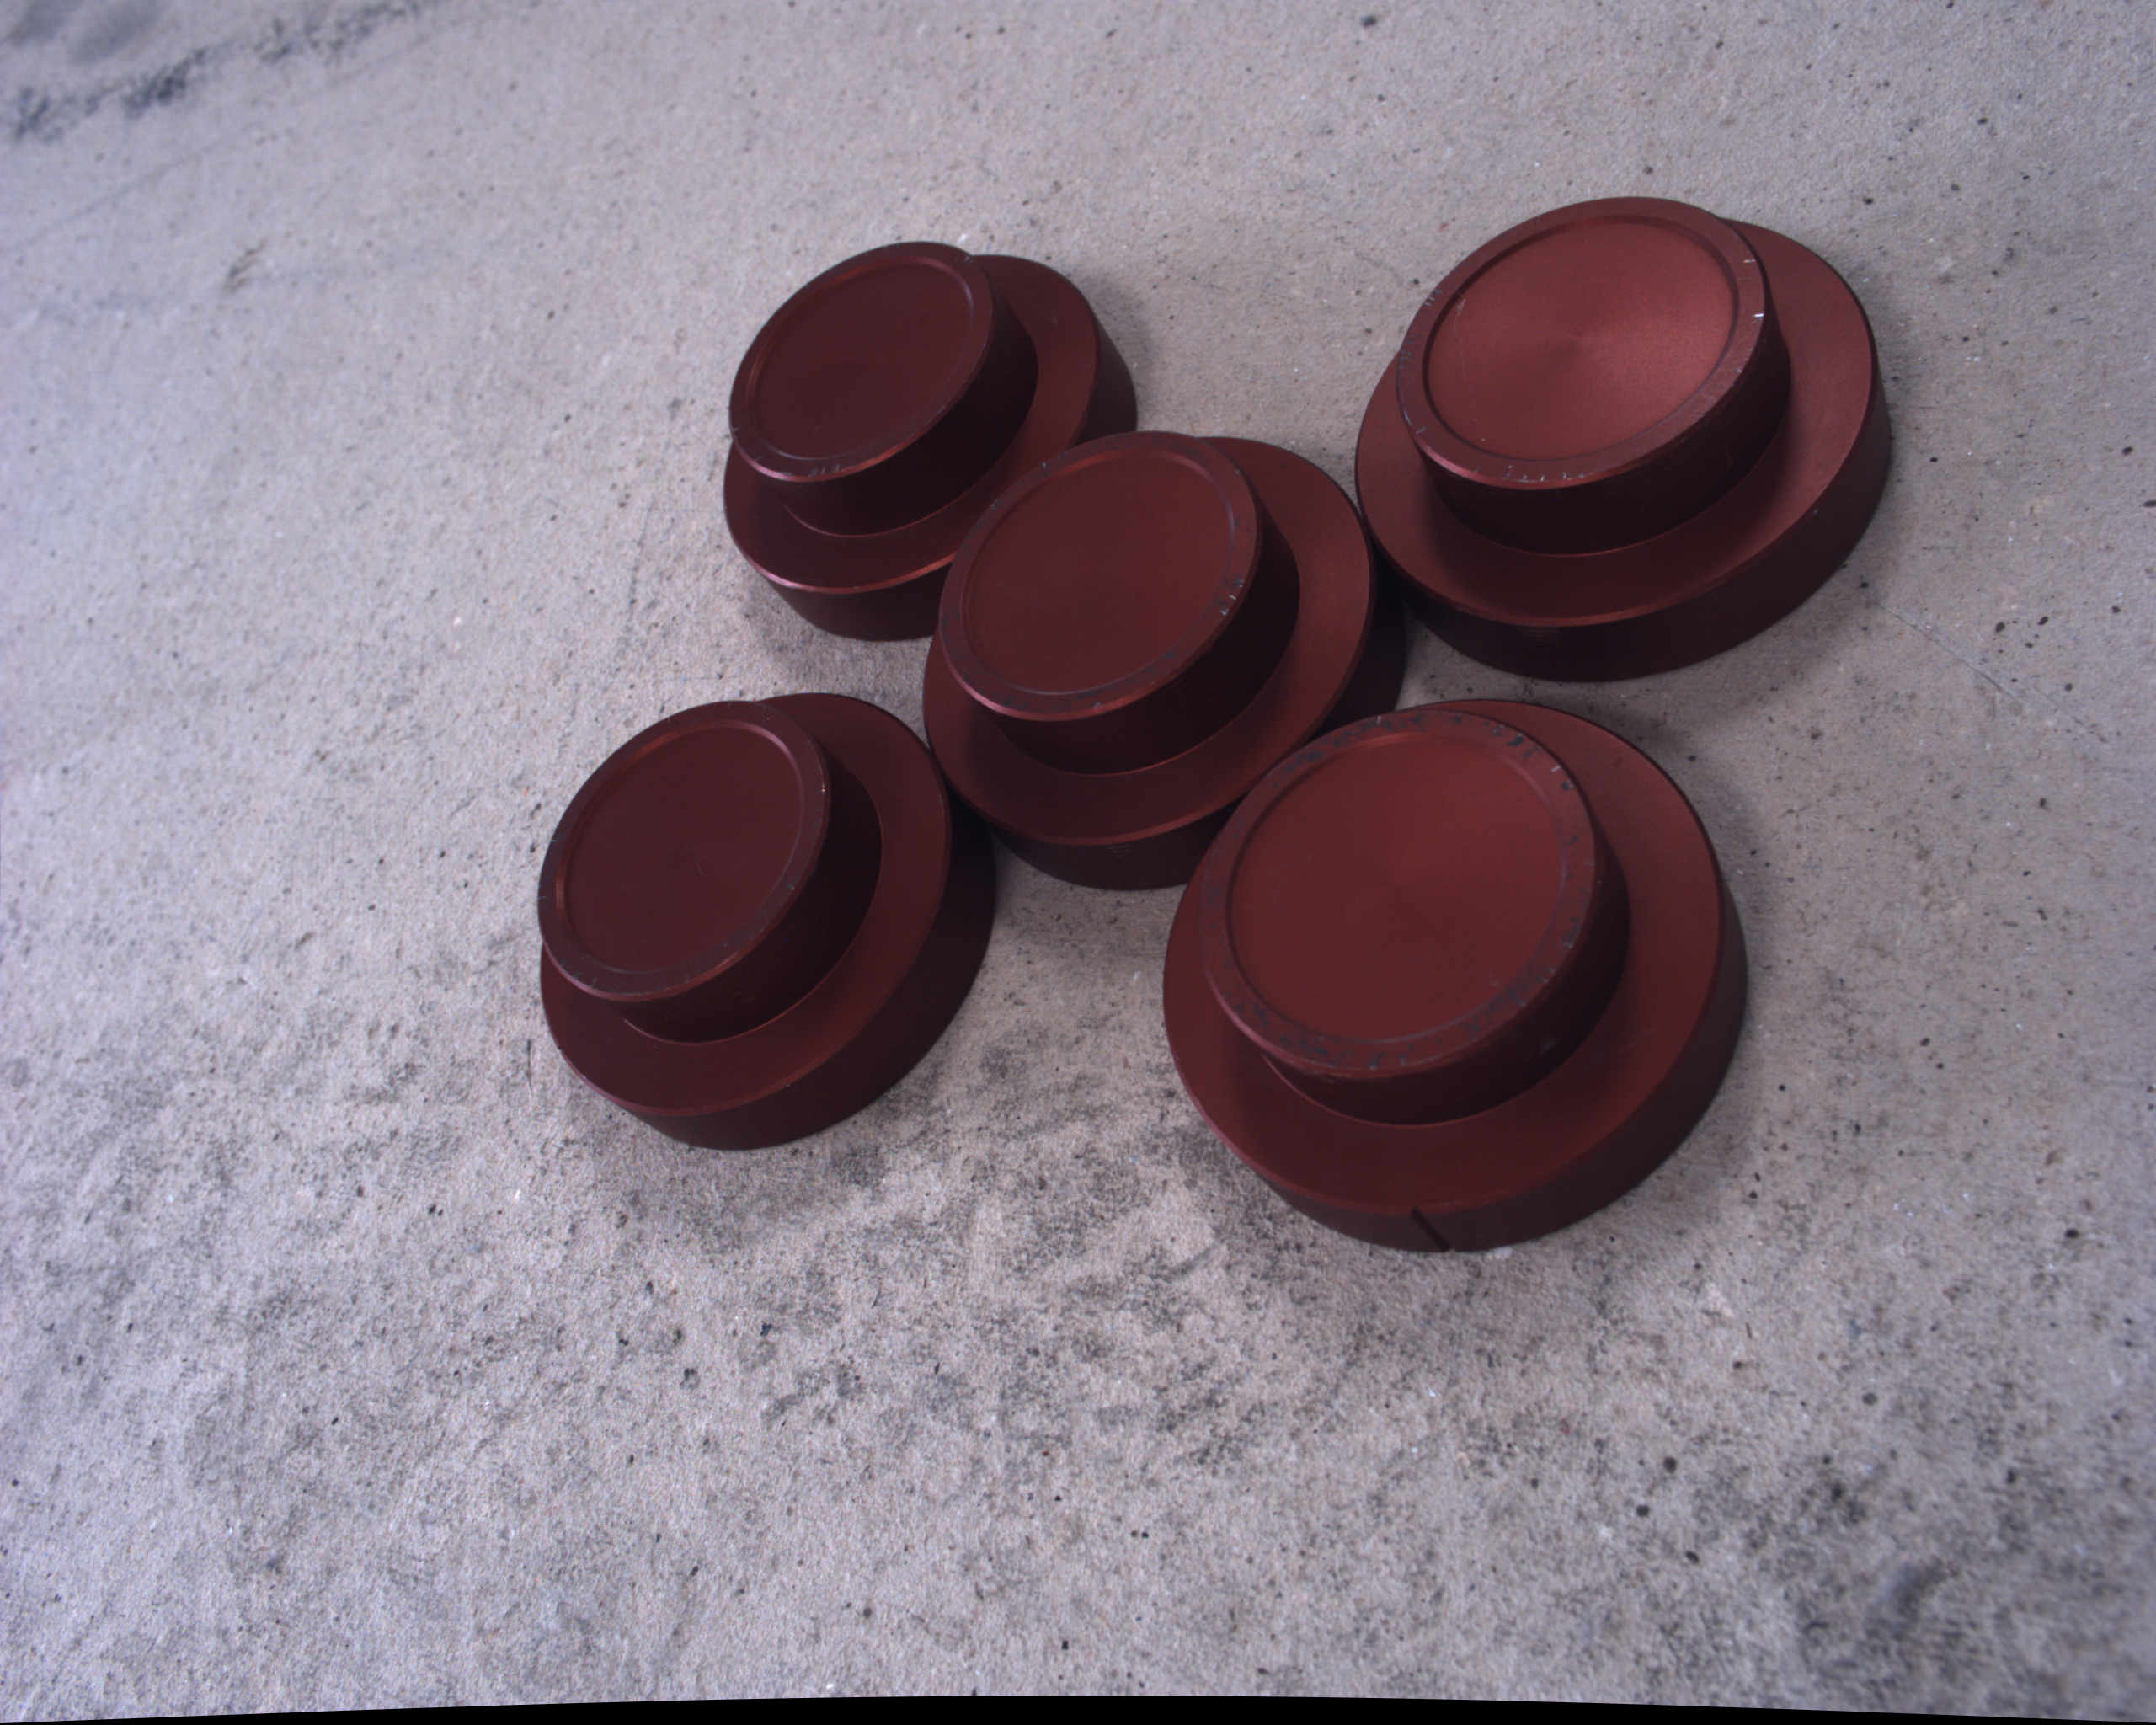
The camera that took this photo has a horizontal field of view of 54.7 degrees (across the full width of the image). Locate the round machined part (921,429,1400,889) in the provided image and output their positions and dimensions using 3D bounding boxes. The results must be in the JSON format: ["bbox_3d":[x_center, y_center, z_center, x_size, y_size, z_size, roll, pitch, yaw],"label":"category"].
[{"bbox_3d":[0.011,-0.047,0.418,0.098,0.042,0.098,-13,57,22],"label":"round machined part"}]

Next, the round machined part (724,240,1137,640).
[{"bbox_3d":[-0.040,-0.103,0.478,0.098,0.042,0.098,-13,56,21],"label":"round machined part"}]

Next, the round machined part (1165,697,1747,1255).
[{"bbox_3d":[0.059,0.013,0.355,0.098,0.042,0.098,-13,57,22],"label":"round machined part"}]

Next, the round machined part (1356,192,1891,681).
[{"bbox_3d":[0.099,-0.086,0.395,0.098,0.042,0.098,-13,57,22],"label":"round machined part"}]

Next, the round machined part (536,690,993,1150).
[{"bbox_3d":[-0.070,0.006,0.428,0.098,0.042,0.098,-13,57,21],"label":"round machined part"}]
